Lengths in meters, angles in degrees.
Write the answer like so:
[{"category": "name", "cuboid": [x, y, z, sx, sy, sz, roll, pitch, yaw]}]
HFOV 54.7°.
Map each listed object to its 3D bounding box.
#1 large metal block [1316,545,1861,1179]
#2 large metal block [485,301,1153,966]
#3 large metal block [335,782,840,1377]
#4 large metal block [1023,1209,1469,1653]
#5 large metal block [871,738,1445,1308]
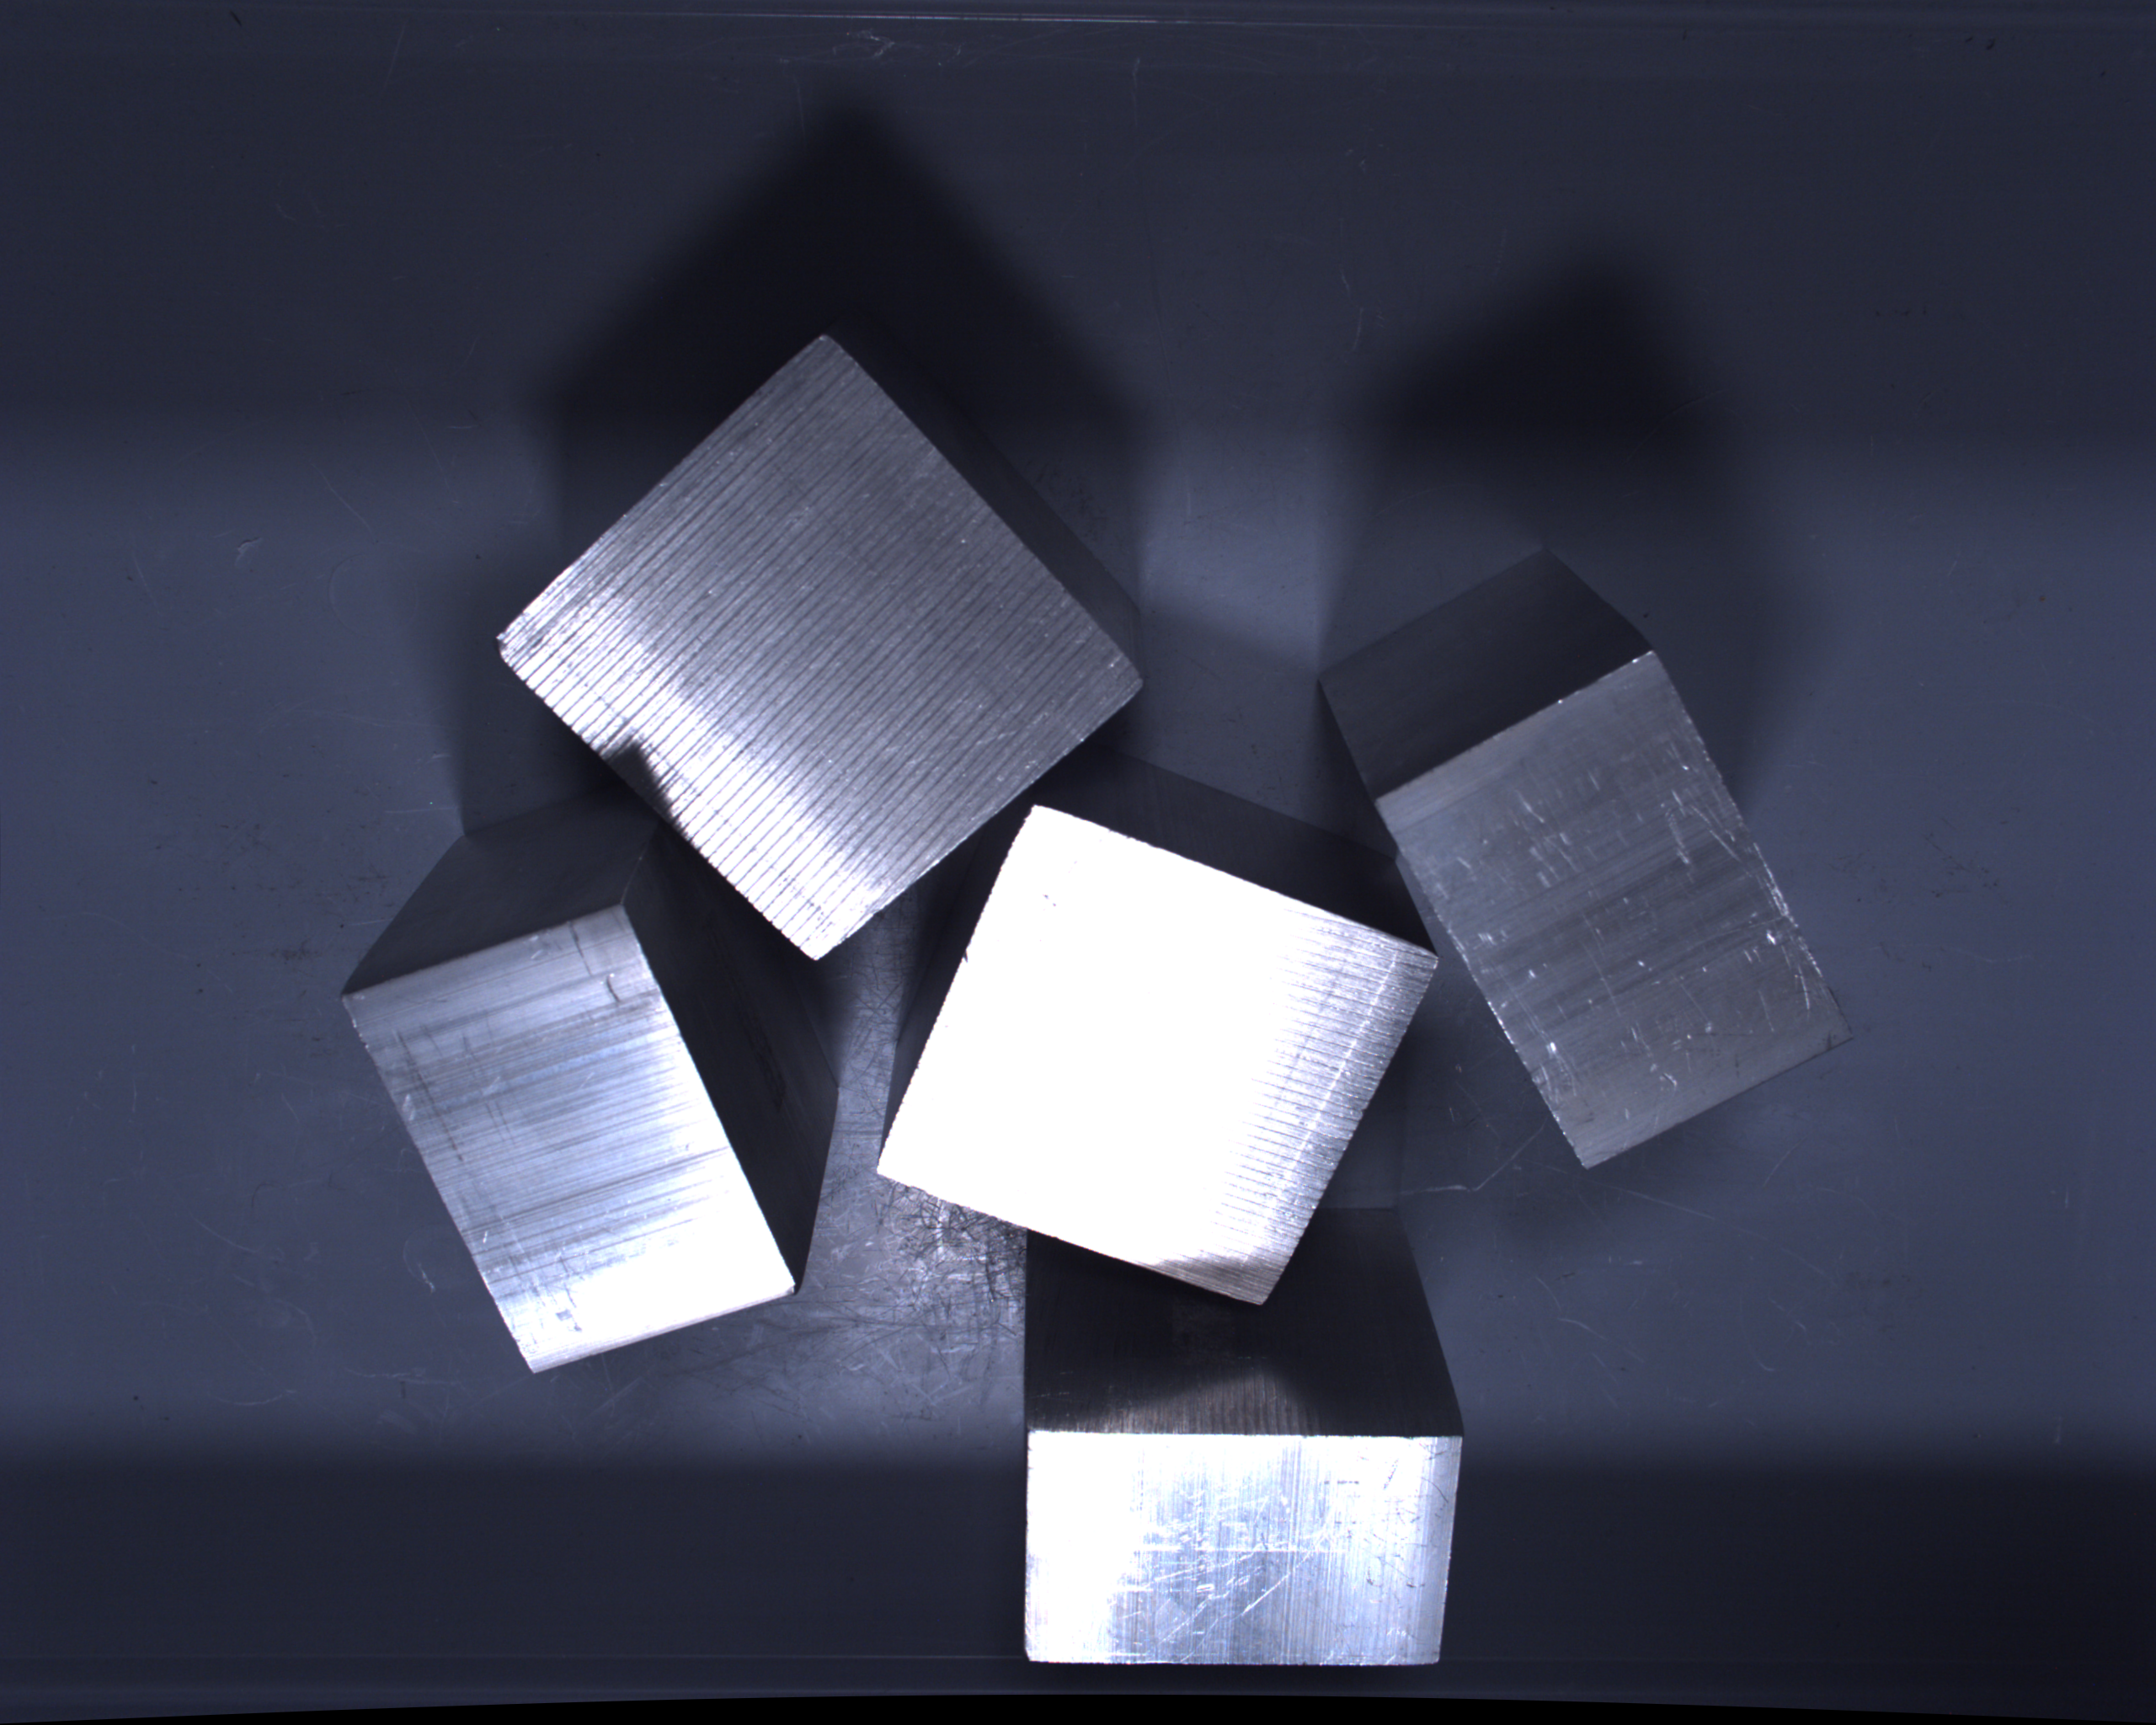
[{"category": "large metal block", "cuboid": [0.089, -0.003, 0.380, 0.050, 0.080, 0.080, -29, 108, 10]}, {"category": "large metal block", "cuboid": [-0.044, -0.043, 0.380, 0.080, 0.050, 0.080, -40, 106, 13]}, {"category": "large metal block", "cuboid": [-0.086, 0.035, 0.392, 0.050, 0.080, 0.080, -18, 109, 6]}, {"category": "large metal block", "cuboid": [0.030, 0.112, 0.423, 0.081, 0.080, 0.050, 1, 110, -1]}, {"category": "large metal block", "cuboid": [0.014, 0.029, 0.407, 0.080, 0.050, 0.079, 21, 109, -8]}]
